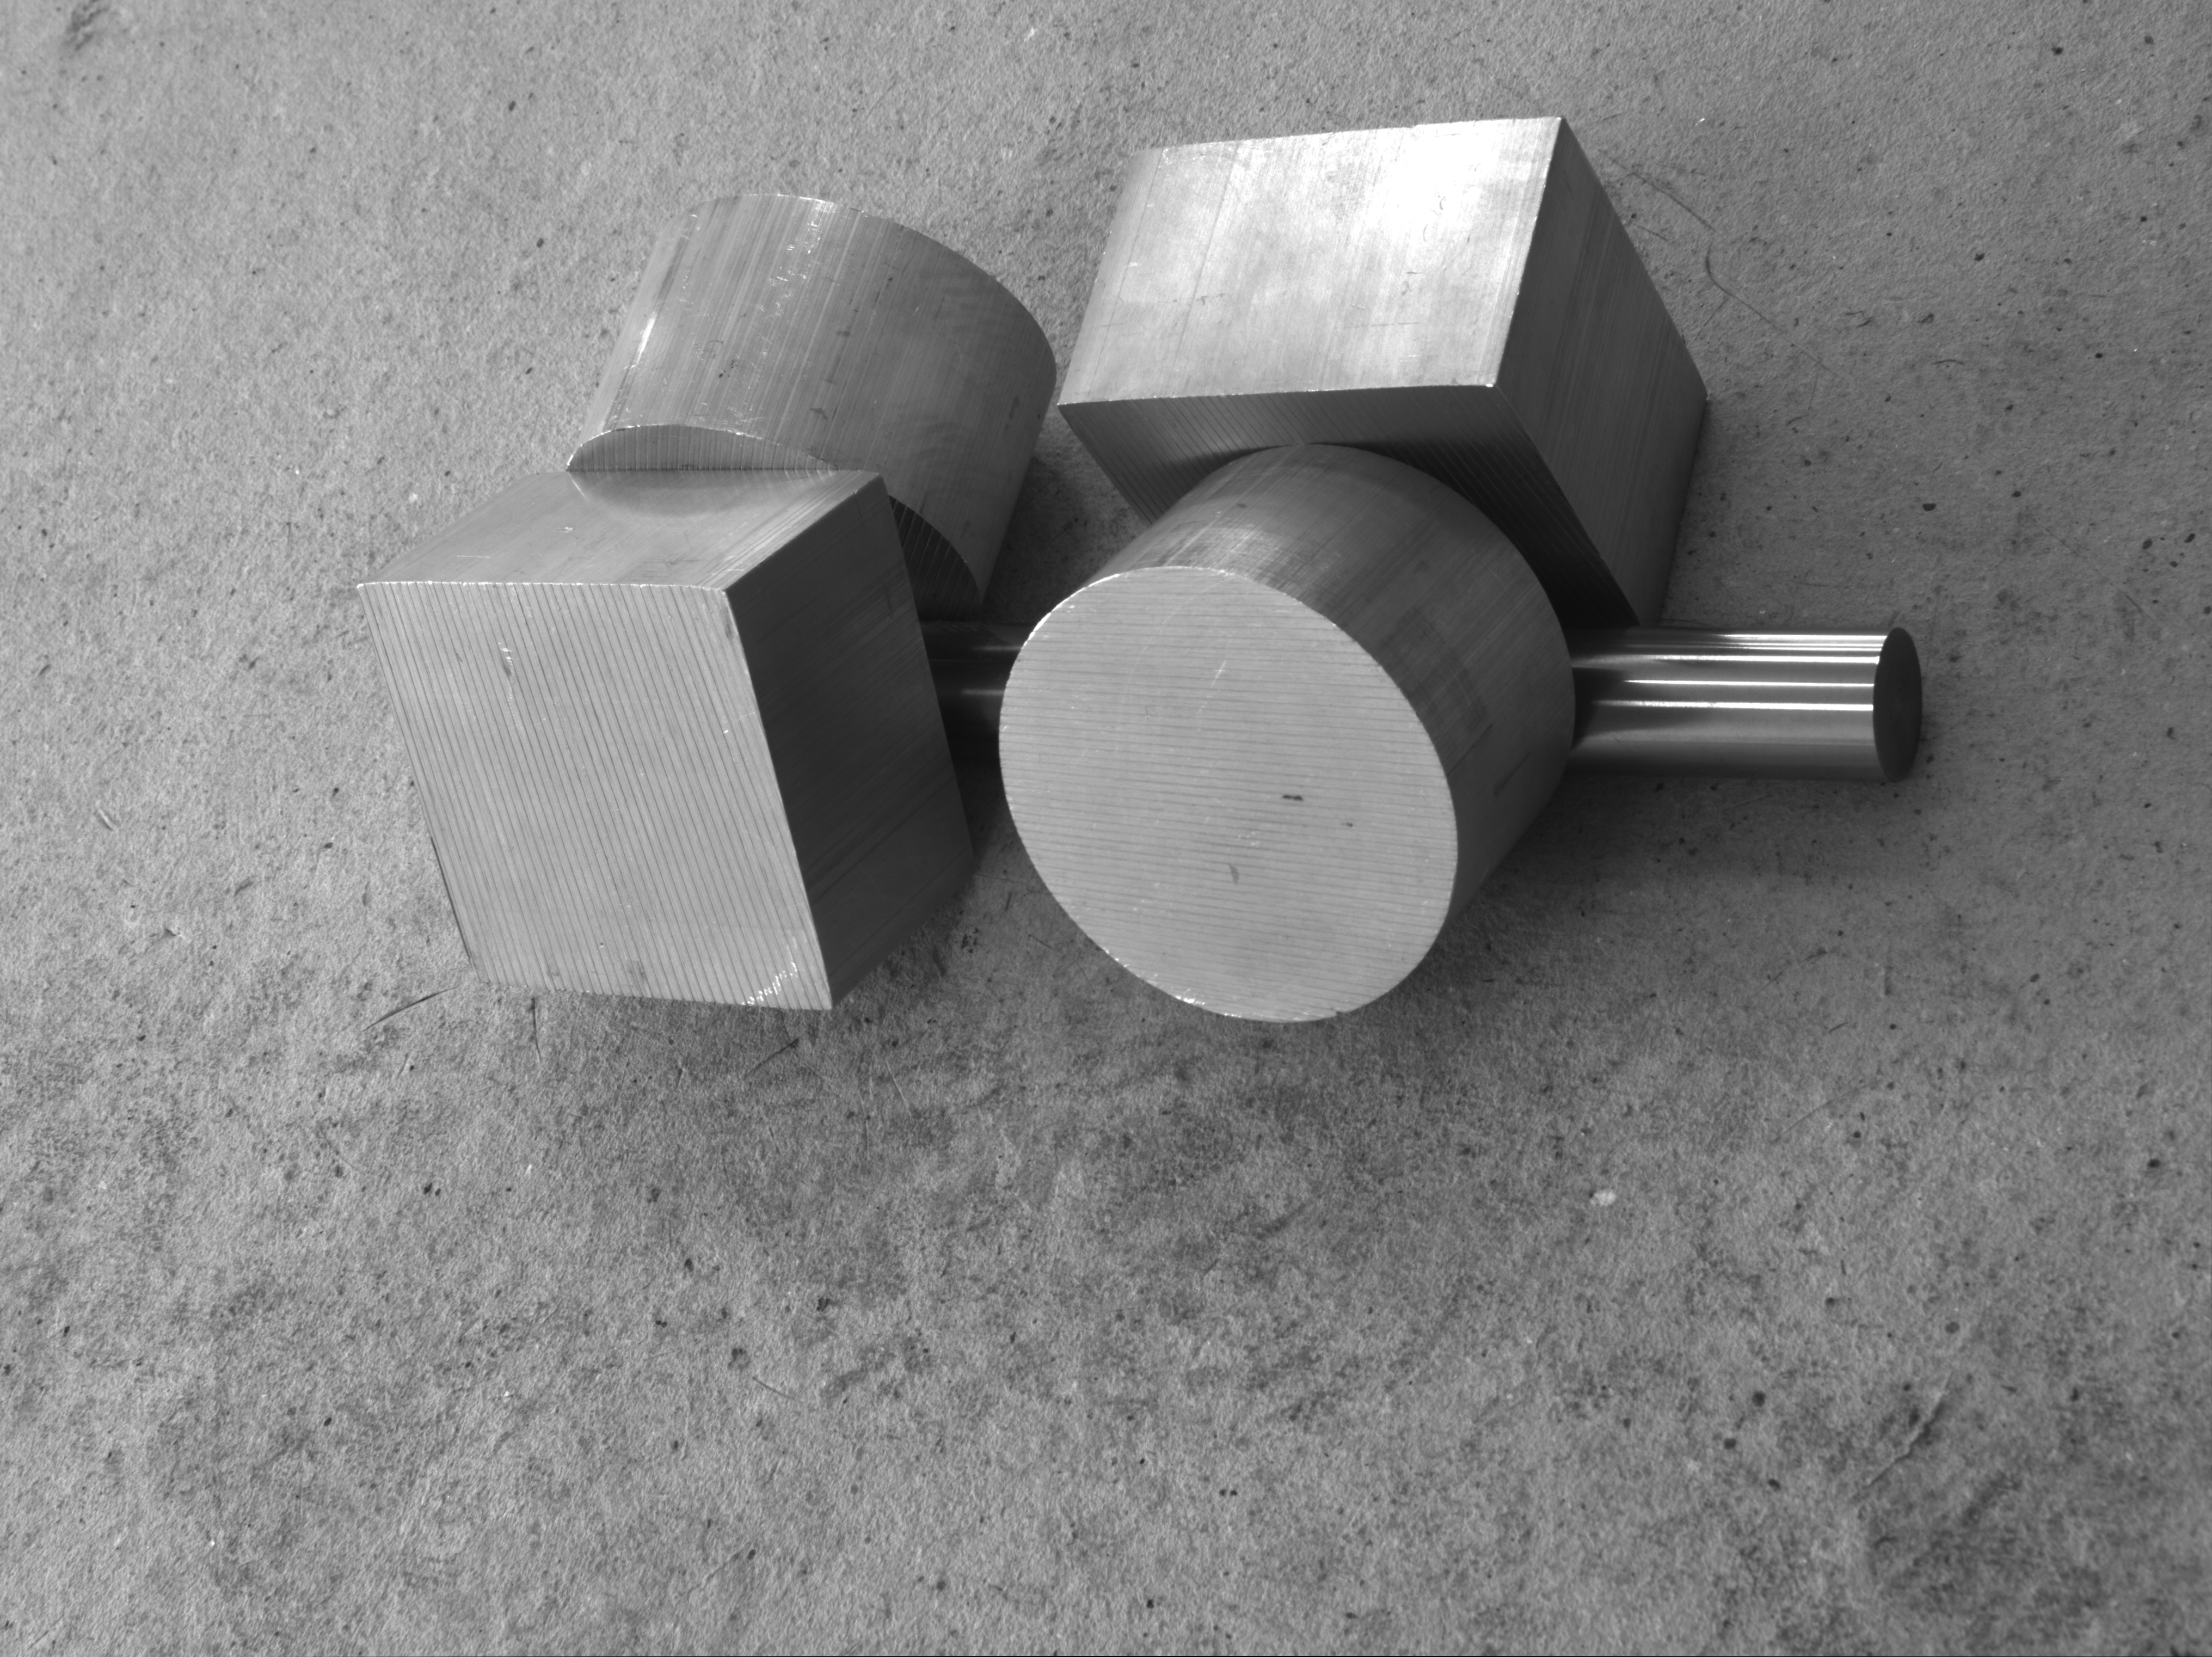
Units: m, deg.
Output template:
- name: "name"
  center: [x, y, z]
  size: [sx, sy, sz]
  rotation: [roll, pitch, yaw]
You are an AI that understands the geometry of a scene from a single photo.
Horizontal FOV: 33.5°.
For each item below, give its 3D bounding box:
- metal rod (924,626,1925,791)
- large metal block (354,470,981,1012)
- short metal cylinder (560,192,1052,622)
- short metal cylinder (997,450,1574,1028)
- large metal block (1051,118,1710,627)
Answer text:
- name: "metal rod"
  center: [-0.002, -0.024, 0.664]
  size: [0.299, 0.025, 0.025]
  rotation: [2, 63, 30]
- name: "large metal block"
  center: [-0.077, -0.017, 0.655]
  size: [0.080, 0.080, 0.050]
  rotation: [3, 29, 29]
- name: "short metal cylinder"
  center: [-0.055, -0.074, 0.686]
  size: [0.080, 0.080, 0.050]
  rotation: [3, 63, 30]
- name: "short metal cylinder"
  center: [0.029, -0.015, 0.596]
  size: [0.080, 0.080, 0.050]
  rotation: [2, 28, 29]
- name: "large metal block"
  center: [0.049, -0.074, 0.629]
  size: [0.080, 0.080, 0.050]
  rotation: [1, 62, 29]
